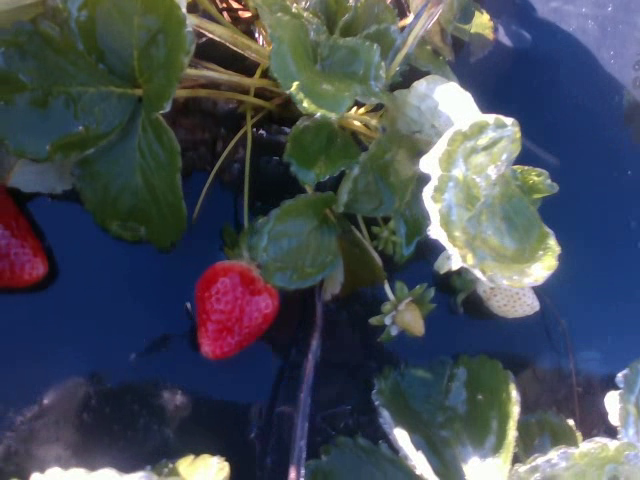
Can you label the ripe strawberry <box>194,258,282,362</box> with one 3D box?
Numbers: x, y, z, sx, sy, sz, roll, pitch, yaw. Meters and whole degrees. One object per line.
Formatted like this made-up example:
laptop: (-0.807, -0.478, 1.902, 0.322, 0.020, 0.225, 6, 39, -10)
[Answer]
ripe strawberry: (-0.033, 0.030, 0.233, 0.039, 0.047, 0.040, 30, -15, -22)
